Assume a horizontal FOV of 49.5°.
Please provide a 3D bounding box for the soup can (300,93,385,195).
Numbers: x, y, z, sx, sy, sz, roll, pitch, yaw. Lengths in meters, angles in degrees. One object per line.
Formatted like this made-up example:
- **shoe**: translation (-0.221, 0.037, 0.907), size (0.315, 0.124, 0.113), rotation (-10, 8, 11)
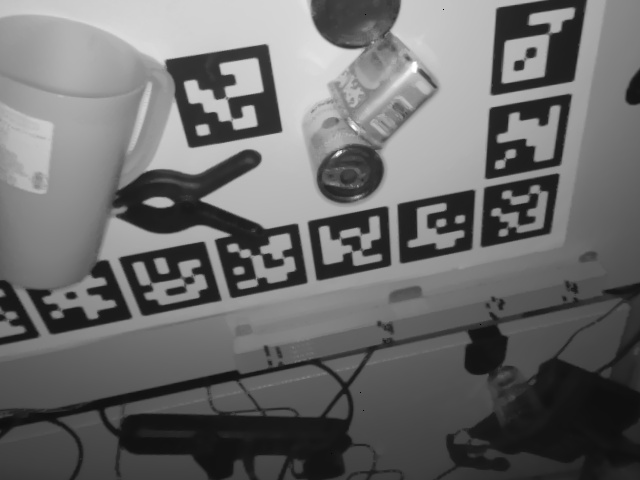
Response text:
- **soup can**: translation (0.021, -0.101, 0.716), size (0.068, 0.102, 0.067), rotation (-7, 126, -9)

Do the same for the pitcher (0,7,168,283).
- **pitcher**: translation (-0.247, -0.079, 0.646), size (0.192, 0.133, 0.239), rotation (-9, 139, -34)

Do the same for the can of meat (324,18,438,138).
- **can of meat**: translation (0.059, -0.161, 0.674), size (0.083, 0.102, 0.058), rotation (-42, 123, 15)

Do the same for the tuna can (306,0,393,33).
- **tuna can**: translation (0.026, -0.242, 0.652), size (0.086, 0.034, 0.085), rotation (-6, 126, -8)

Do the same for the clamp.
- **clamp**: translation (-0.133, -0.052, 0.771), size (0.165, 0.037, 0.121), rotation (-8, 132, -3)
